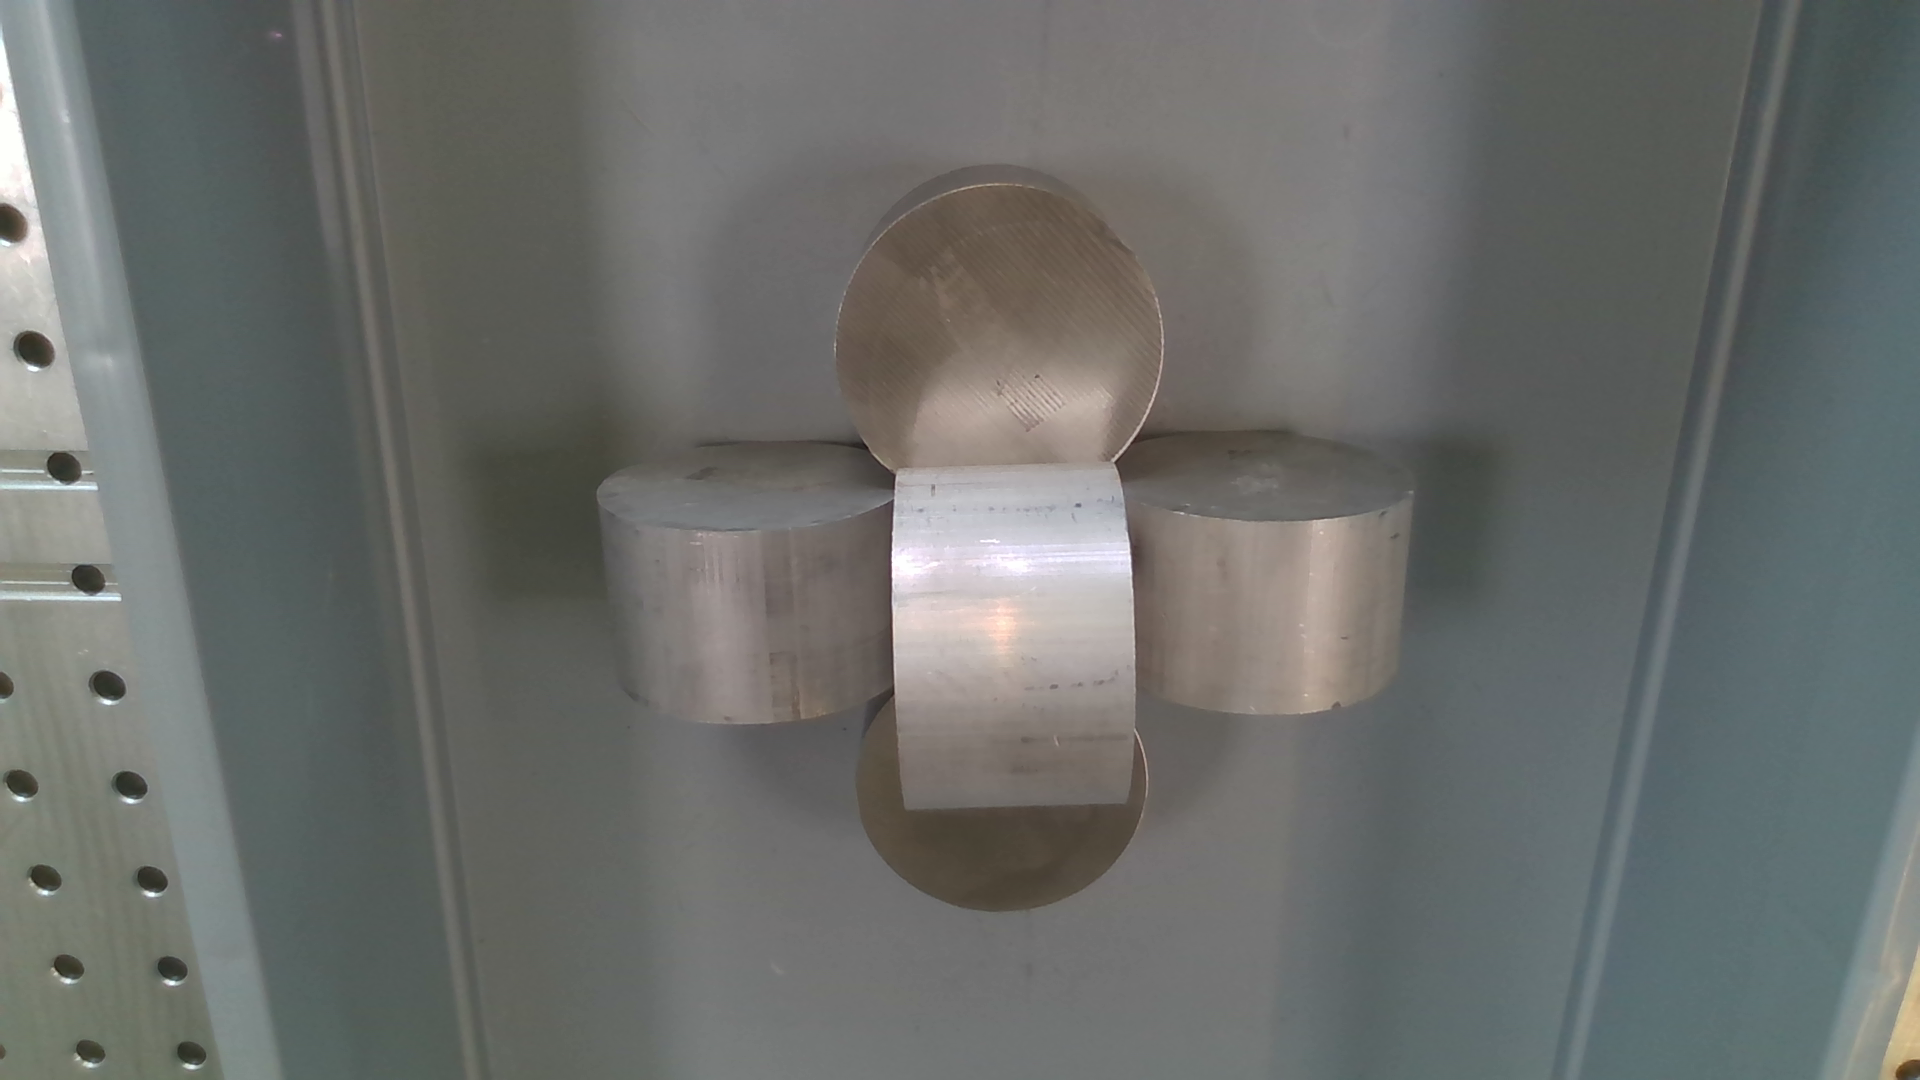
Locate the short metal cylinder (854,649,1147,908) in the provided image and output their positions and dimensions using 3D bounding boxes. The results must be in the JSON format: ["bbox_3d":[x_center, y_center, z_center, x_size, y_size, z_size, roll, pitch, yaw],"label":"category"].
[{"bbox_3d":[0.011,0.058,0.400,0.080,0.050,0.080,0,110,0],"label":"short metal cylinder"}]

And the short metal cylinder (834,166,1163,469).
[{"bbox_3d":[0.009,-0.055,0.359,0.080,0.050,0.080,0,110,0],"label":"short metal cylinder"}]

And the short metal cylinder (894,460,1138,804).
[{"bbox_3d":[0.012,0.021,0.324,0.050,0.080,0.080,-1,110,0],"label":"short metal cylinder"}]

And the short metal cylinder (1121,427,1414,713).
[{"bbox_3d":[0.076,0.005,0.364,0.080,0.080,0.050,-2,111,1],"label":"short metal cylinder"}]

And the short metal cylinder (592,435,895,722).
[{"bbox_3d":[-0.053,0.007,0.365,0.080,0.080,0.050,-2,111,1],"label":"short metal cylinder"}]
